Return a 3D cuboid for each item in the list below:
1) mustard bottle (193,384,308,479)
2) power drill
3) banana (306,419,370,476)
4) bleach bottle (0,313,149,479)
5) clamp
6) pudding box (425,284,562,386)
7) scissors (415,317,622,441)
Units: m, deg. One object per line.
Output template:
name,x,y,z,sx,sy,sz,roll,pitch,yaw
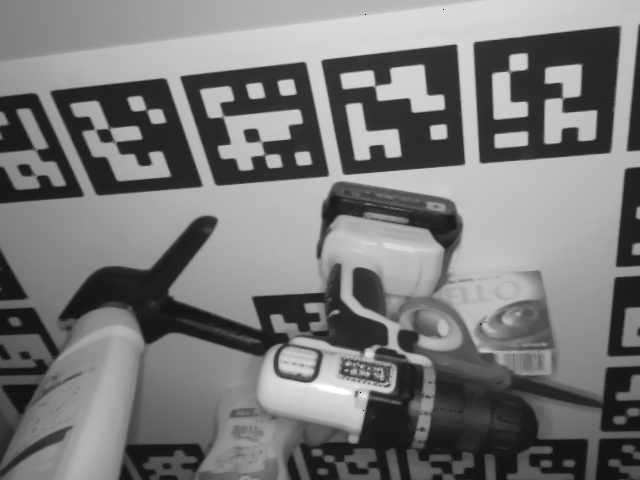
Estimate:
mustard bottle,-0.074,0.232,0.689,0.096,0.194,0.058,10,125,4
power drill,0.069,0.060,0.513,0.185,0.189,0.057,7,132,0
banana,0.043,0.202,0.732,0.075,0.039,0.194,30,124,-32
bleach bottle,-0.207,0.148,0.592,0.102,0.252,0.068,-22,122,14
clamp,-0.161,0.075,0.665,0.201,0.037,0.164,-8,120,15
pudding box,0.150,0.082,0.612,0.113,0.091,0.038,1,131,8
scissors,0.151,0.124,0.561,0.203,0.016,0.086,20,120,0
